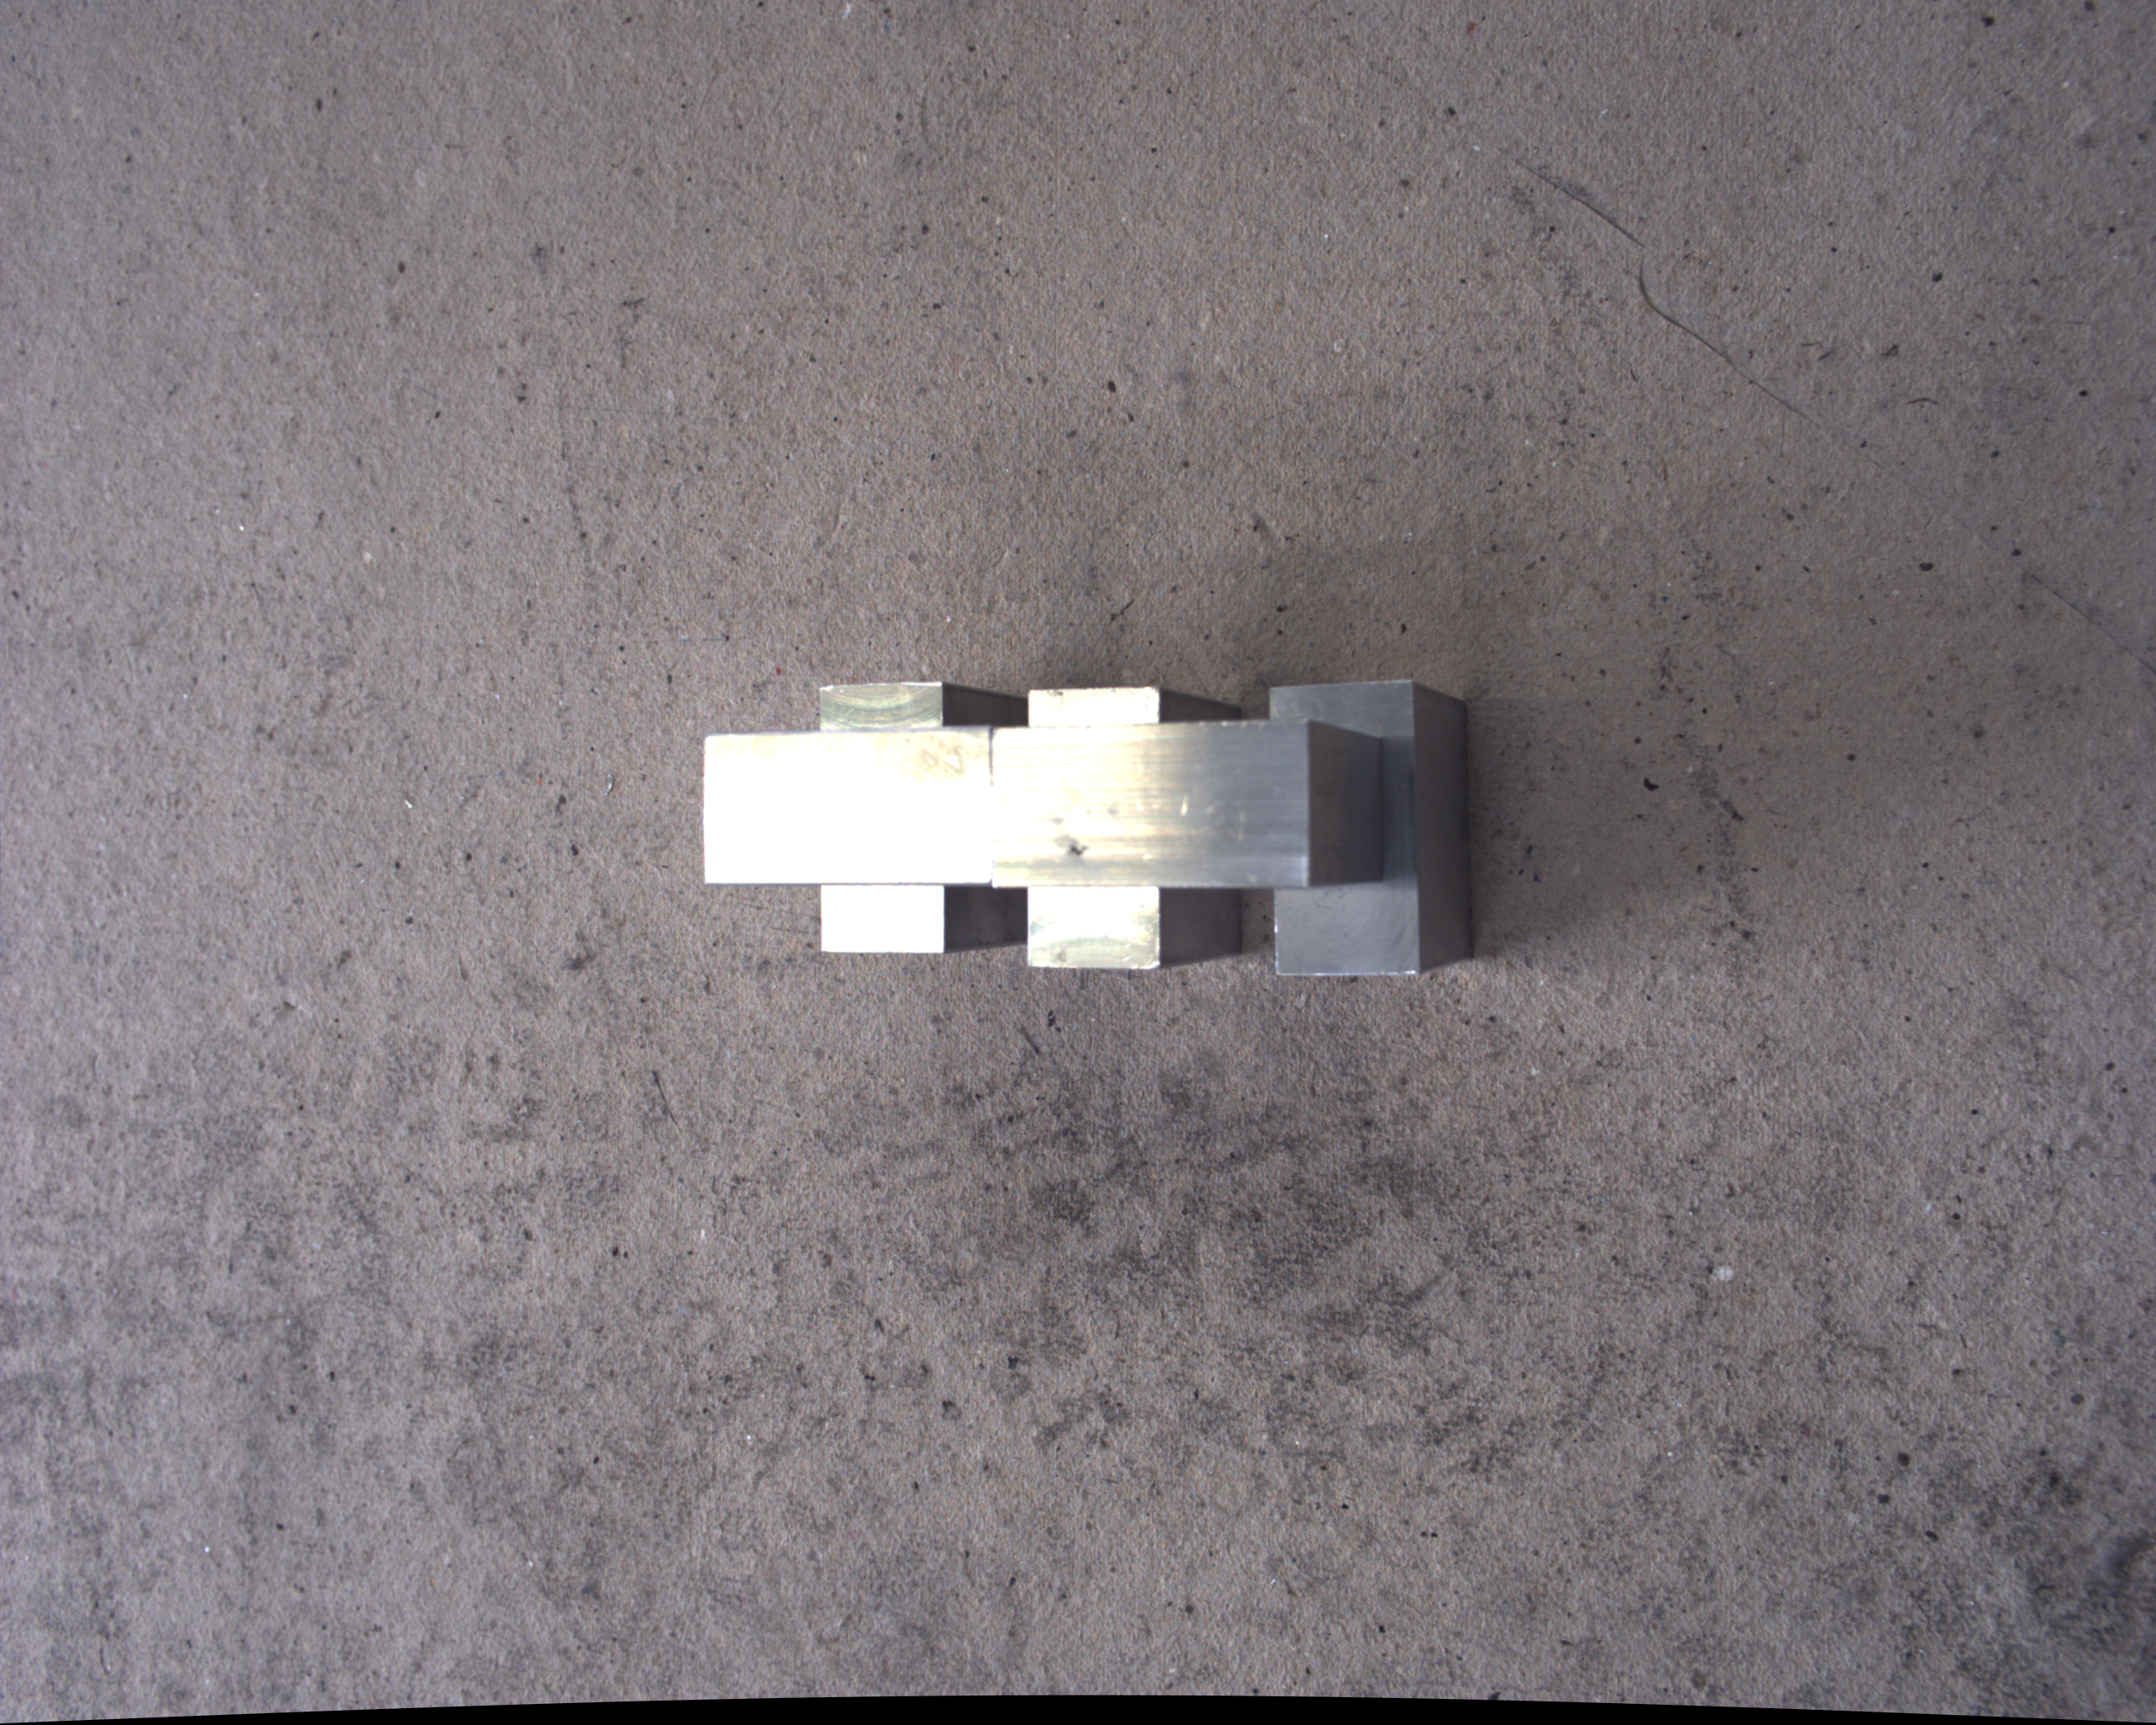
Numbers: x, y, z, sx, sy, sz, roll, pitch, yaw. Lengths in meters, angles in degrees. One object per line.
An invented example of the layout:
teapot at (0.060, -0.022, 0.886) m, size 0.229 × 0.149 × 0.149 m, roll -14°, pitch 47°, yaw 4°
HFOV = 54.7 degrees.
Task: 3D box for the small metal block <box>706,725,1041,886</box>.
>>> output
small metal block at (-0.028, -0.009, 0.354) m, size 0.050 × 0.050 × 0.025 m, roll 0°, pitch 90°, yaw 20°

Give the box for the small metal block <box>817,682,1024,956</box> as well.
small metal block at (-0.028, -0.008, 0.406) m, size 0.025 × 0.050 × 0.050 m, roll -1°, pitch 90°, yaw 21°

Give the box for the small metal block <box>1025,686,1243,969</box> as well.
small metal block at (0.012, -0.006, 0.393) m, size 0.025 × 0.050 × 0.050 m, roll -1°, pitch 89°, yaw 21°

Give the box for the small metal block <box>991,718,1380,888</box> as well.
small metal block at (0.019, -0.009, 0.337) m, size 0.050 × 0.050 × 0.025 m, roll 0°, pitch 90°, yaw 20°

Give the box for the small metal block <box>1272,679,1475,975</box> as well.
small metal block at (0.054, -0.006, 0.378) m, size 0.025 × 0.050 × 0.050 m, roll -1°, pitch 89°, yaw 21°
